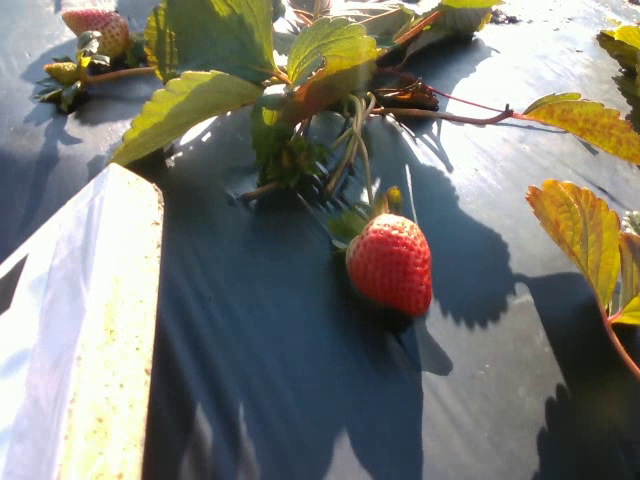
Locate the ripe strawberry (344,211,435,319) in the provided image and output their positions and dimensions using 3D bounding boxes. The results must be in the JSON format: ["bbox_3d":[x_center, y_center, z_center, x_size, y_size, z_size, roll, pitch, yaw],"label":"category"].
[{"bbox_3d":[0.034,0.011,0.250,0.043,0.045,0.064,32,18,-41],"label":"ripe strawberry"}]
